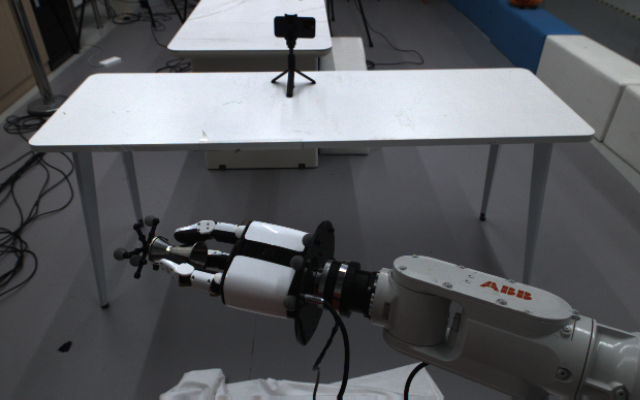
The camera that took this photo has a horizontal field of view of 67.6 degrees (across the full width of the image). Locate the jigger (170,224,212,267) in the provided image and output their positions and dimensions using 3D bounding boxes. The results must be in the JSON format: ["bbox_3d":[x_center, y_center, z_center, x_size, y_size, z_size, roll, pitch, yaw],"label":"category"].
[{"bbox_3d":[-0.188,0.067,0.668,0.071,0.043,0.043,6,34,18],"label":"jigger"}]
